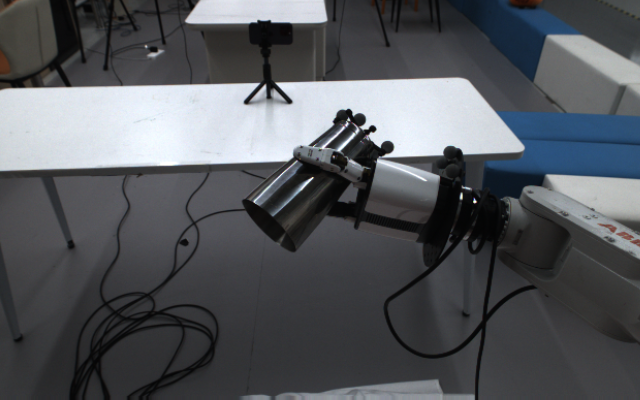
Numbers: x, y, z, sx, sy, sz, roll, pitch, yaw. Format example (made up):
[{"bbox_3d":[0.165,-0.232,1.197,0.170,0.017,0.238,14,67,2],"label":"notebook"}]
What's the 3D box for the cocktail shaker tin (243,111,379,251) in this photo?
[{"bbox_3d":[-0.008,-0.029,0.627,0.093,0.093,0.170,32,66,35],"label":"cocktail shaker tin"}]
